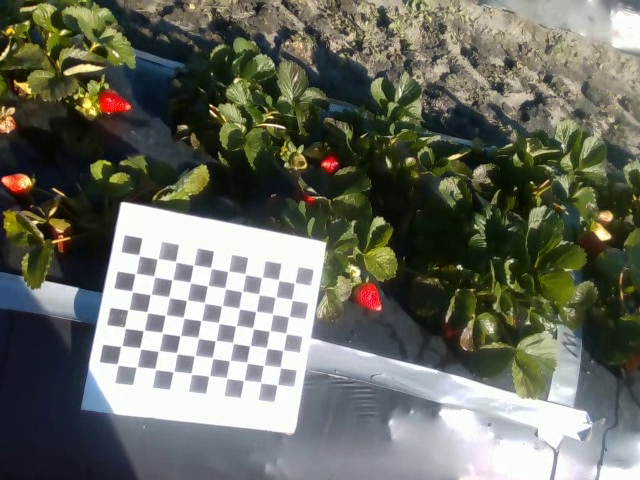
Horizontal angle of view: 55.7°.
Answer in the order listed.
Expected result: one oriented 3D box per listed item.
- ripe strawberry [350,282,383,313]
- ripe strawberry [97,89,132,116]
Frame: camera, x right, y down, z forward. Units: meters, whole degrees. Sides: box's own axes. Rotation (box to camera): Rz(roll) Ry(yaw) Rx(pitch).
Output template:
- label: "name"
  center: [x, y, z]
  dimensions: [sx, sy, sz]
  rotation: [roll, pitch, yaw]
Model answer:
- label: "ripe strawberry"
  center: [0.079, 0.093, 0.943]
  dimensions: [0.048, 0.055, 0.029]
  rotation: [-36, 5, -13]
- label: "ripe strawberry"
  center: [-0.352, -0.235, 1.033]
  dimensions: [0.064, 0.050, 0.052]
  rotation: [17, -7, -3]
